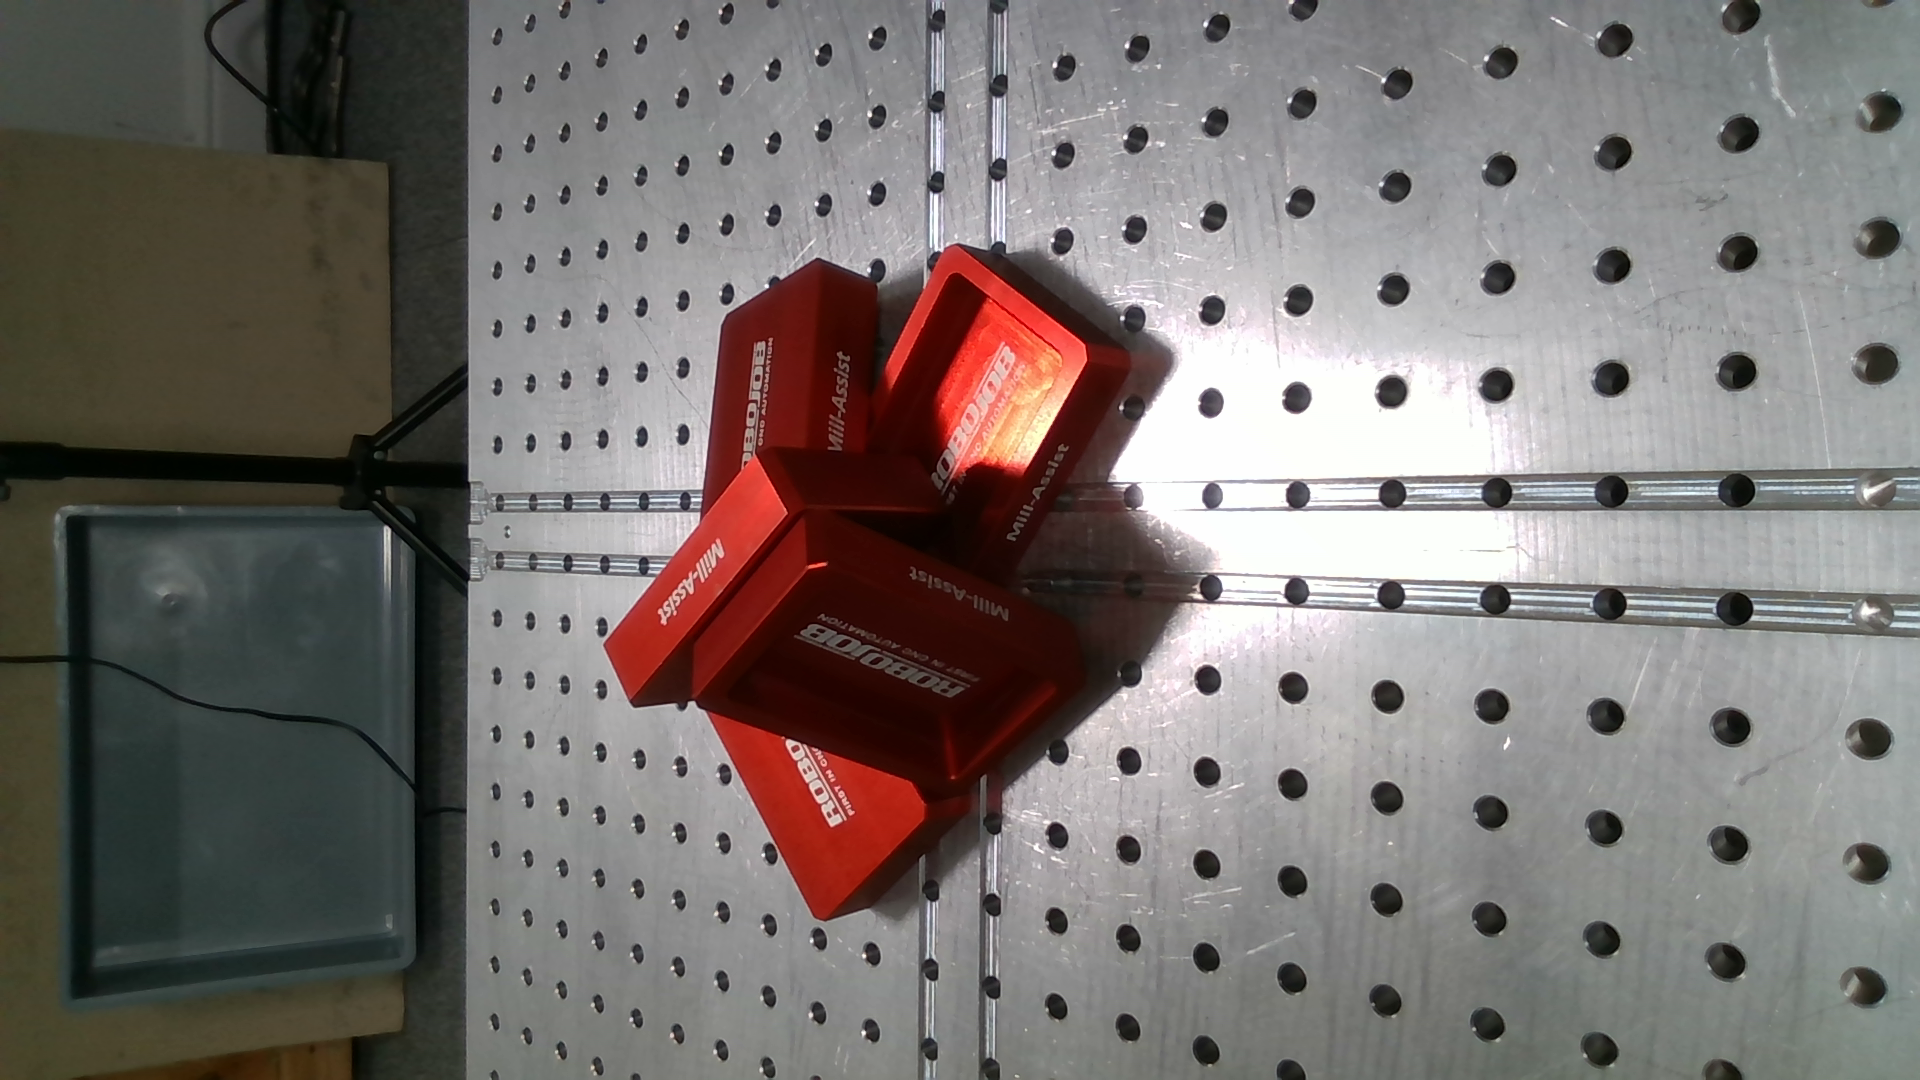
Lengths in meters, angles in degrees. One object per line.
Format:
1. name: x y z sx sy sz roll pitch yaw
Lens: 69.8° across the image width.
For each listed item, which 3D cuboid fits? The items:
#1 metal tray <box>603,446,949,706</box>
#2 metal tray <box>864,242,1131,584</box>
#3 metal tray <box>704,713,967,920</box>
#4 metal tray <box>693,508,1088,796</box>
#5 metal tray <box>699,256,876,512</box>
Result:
1. metal tray: -0.076 0.016 0.567 0.130 0.090 0.030 -46 62 31
2. metal tray: 0.004 -0.046 0.578 0.090 0.030 0.130 43 117 31
3. metal tray: -0.062 0.095 0.634 0.090 0.030 0.130 -49 61 29
4. metal tray: -0.027 0.048 0.540 0.090 0.130 0.030 -46 34 31
5. metal tray: -0.080 -0.051 0.618 0.090 0.030 0.130 -16 65 50
